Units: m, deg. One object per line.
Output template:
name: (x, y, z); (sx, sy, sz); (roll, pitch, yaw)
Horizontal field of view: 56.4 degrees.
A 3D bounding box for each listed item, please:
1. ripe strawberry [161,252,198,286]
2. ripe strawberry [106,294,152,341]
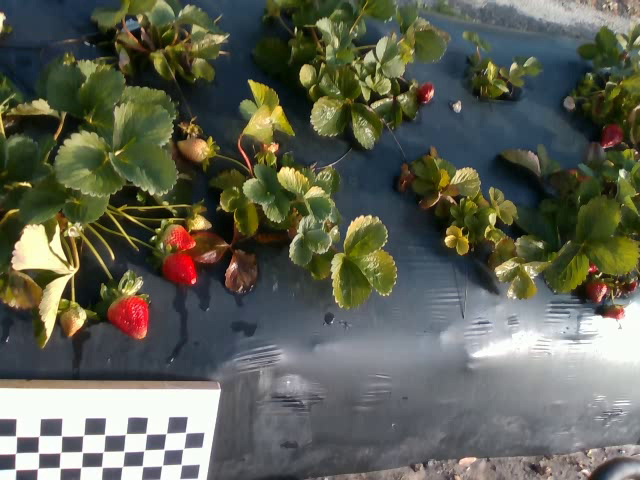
ripe strawberry: (-0.180, 0.043, 0.762); (0.055, 0.045, 0.041); (39, 7, 27)
ripe strawberry: (-0.231, 0.097, 0.720); (0.050, 0.065, 0.050); (-32, -31, -3)
